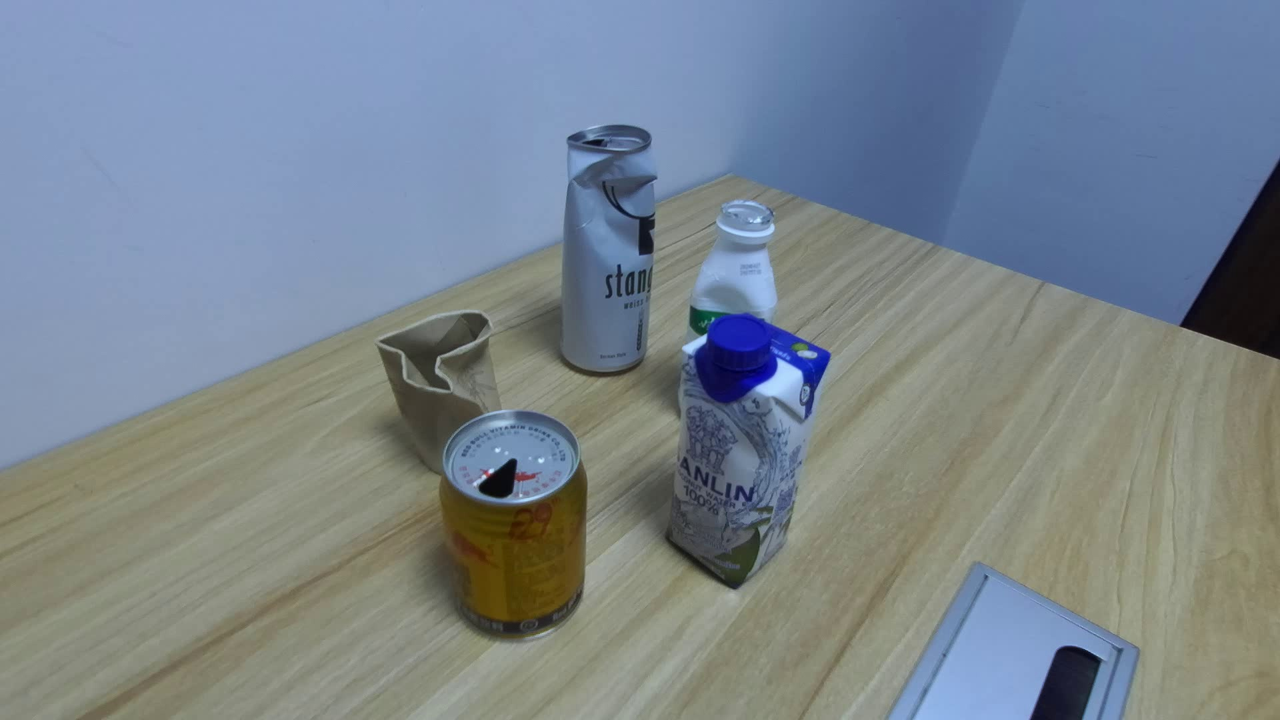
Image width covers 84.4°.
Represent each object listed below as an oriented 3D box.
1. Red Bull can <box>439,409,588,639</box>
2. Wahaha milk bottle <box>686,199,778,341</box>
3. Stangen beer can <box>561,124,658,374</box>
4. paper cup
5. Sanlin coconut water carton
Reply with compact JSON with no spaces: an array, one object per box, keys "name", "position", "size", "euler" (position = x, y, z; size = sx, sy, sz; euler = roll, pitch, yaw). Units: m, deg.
[{"name":"Red Bull can","position":[-0.058,0.079,0.338],"size":[0.067,0.093,0.067],"euler":[3,35,-2]},{"name":"Wahaha milk bottle","position":[0.057,-0.028,0.442],"size":[0.055,0.149,0.055],"euler":[3,37,-2]},{"name":"Stangen beer can","position":[-0.023,-0.072,0.486],"size":[0.066,0.166,0.066],"euler":[-6,36,-13]},{"name":"paper cup","position":[-0.106,0.023,0.417],"size":[0.067,0.083,0.058],"euler":[-27,47,-33]},{"name":"Sanlin coconut water carton","position":[0.051,0.041,0.354],"size":[0.060,0.144,0.061],"euler":[29,41,33]}]
